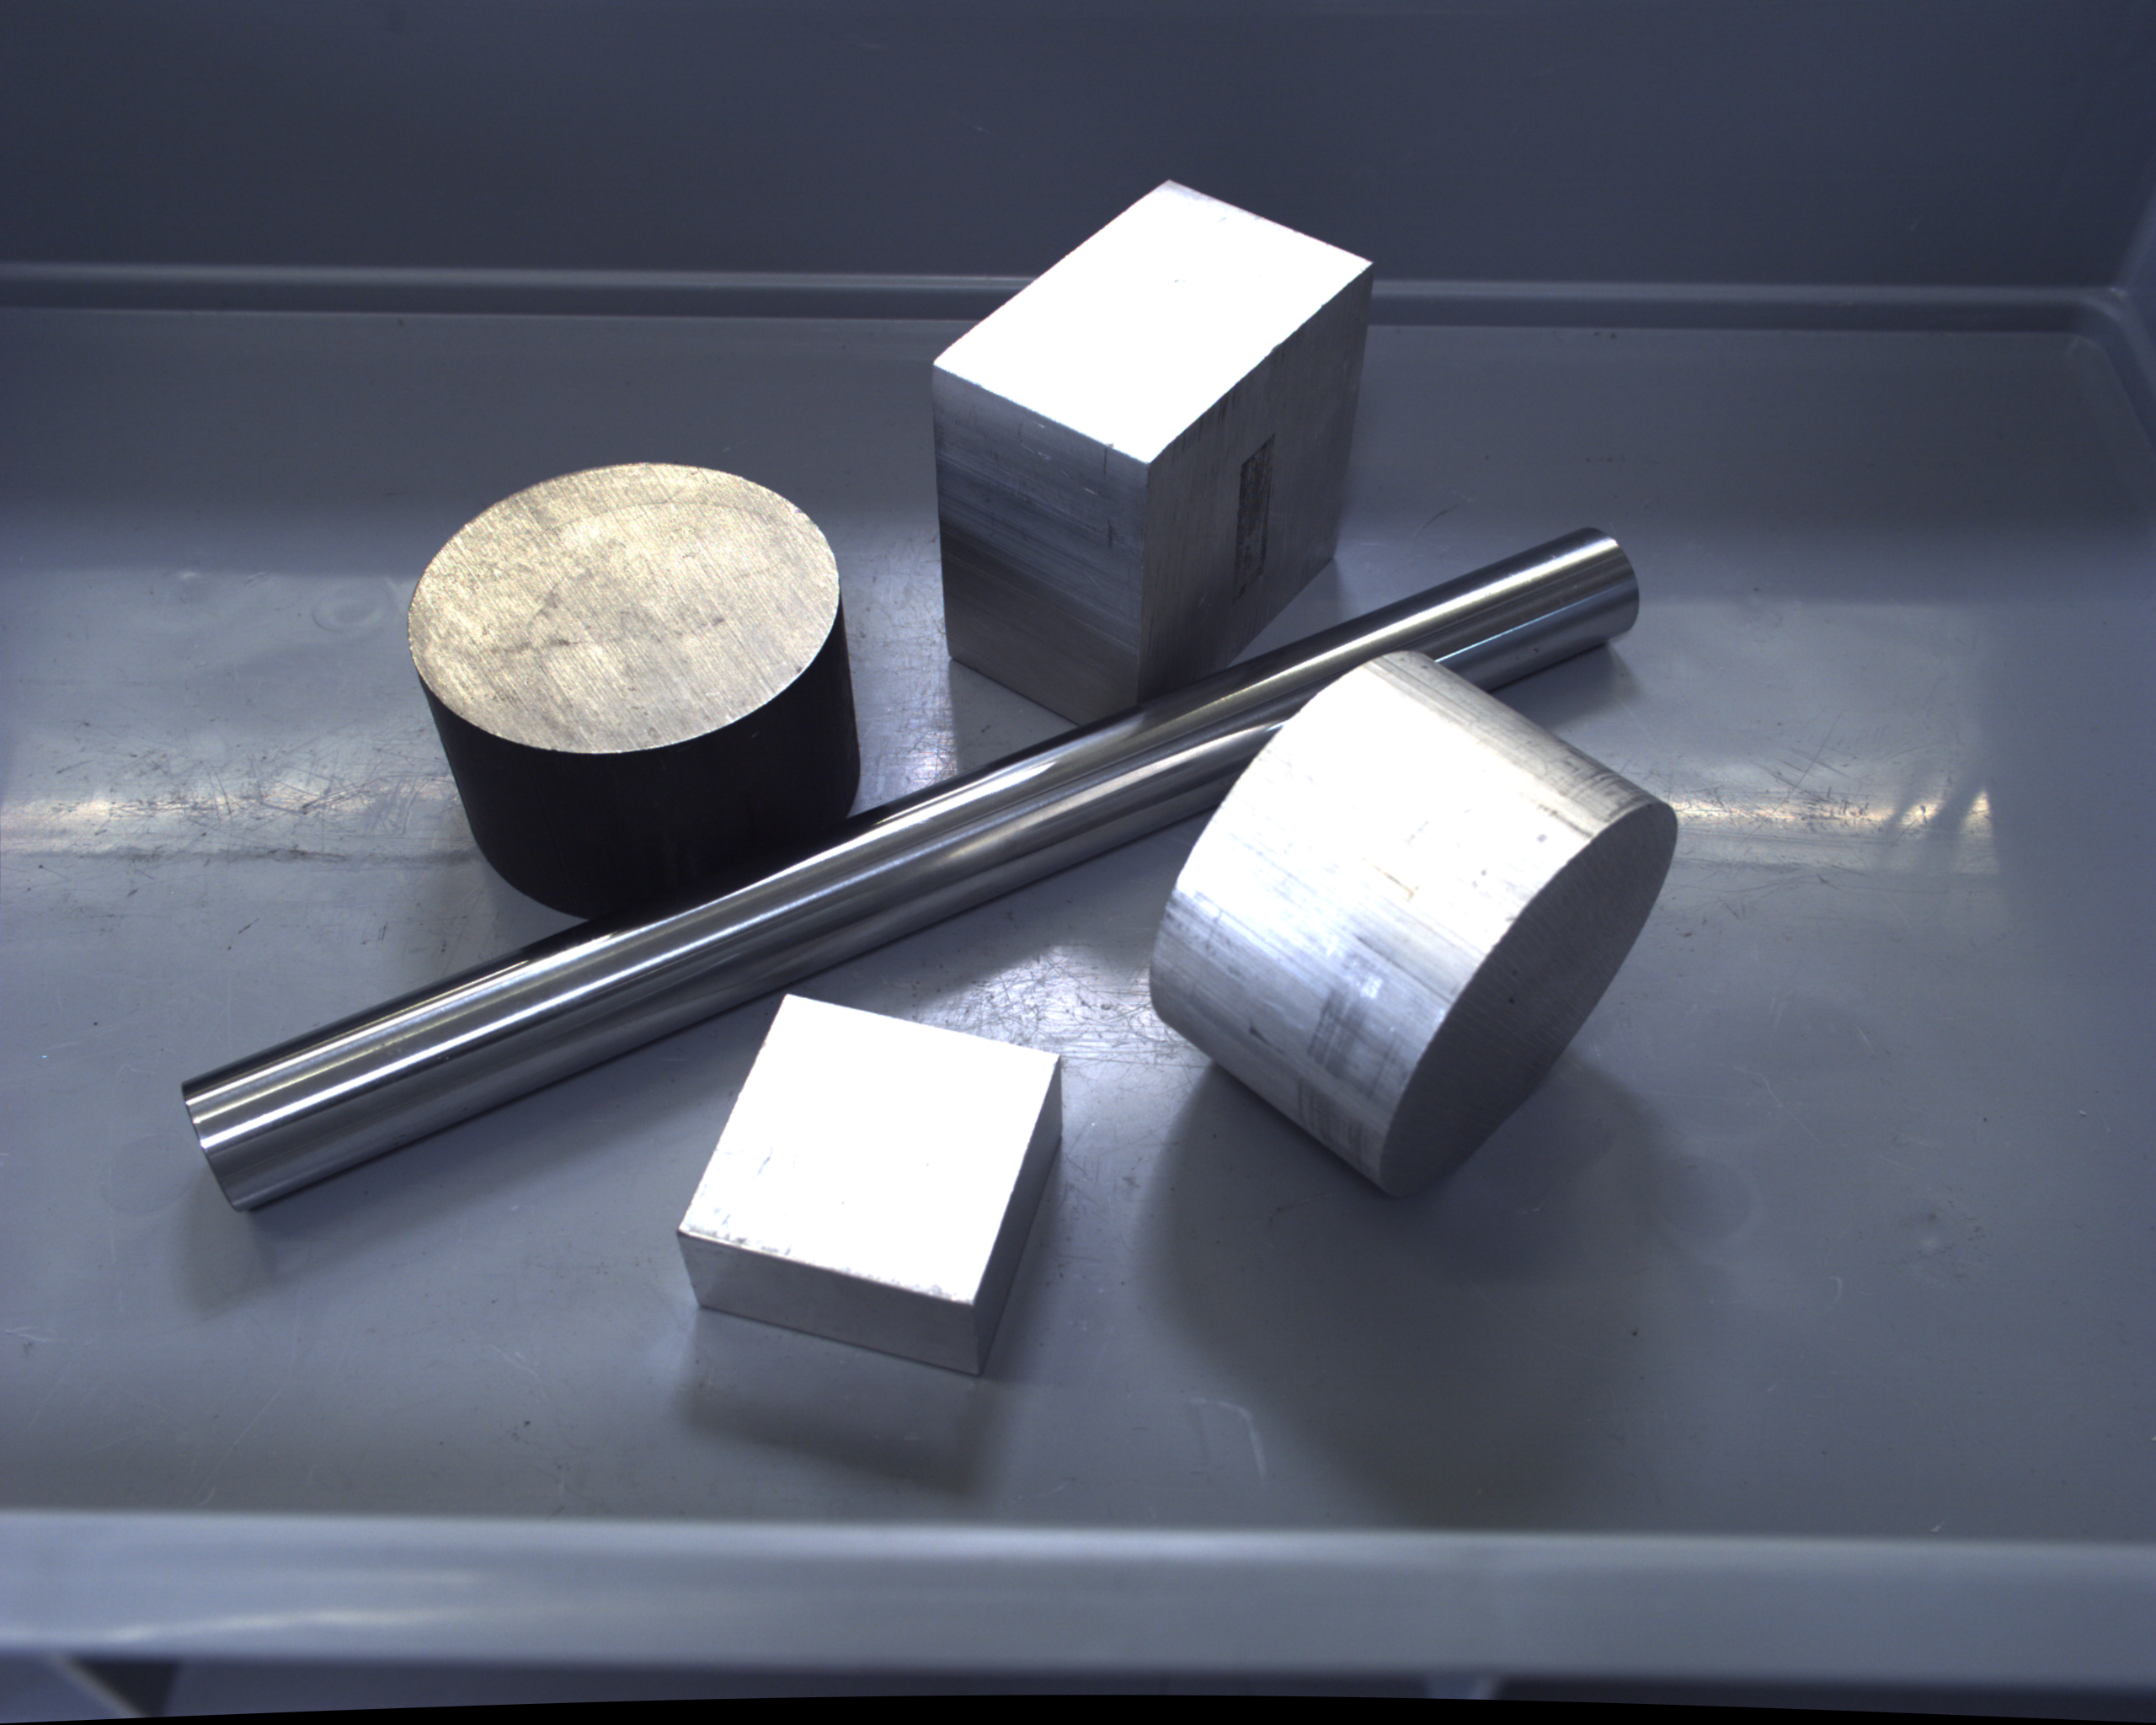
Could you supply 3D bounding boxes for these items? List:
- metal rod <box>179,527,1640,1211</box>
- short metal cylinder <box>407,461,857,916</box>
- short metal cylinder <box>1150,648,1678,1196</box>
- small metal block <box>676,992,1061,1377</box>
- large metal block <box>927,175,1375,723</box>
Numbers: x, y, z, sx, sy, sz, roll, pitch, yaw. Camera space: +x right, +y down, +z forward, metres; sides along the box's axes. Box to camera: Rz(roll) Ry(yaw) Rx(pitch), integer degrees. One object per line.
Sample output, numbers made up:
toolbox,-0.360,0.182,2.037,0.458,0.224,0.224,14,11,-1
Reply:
metal rod,-0.018,-0.006,0.408,0.302,0.025,0.025,-23,54,-18
short metal cylinder,-0.086,-0.035,0.415,0.081,0.050,0.080,0,50,0
short metal cylinder,0.058,0.010,0.359,0.050,0.080,0.080,36,59,26
small metal block,-0.034,0.054,0.357,0.050,0.025,0.050,12,51,9
large metal block,0.016,-0.083,0.437,0.050,0.080,0.080,29,56,22
